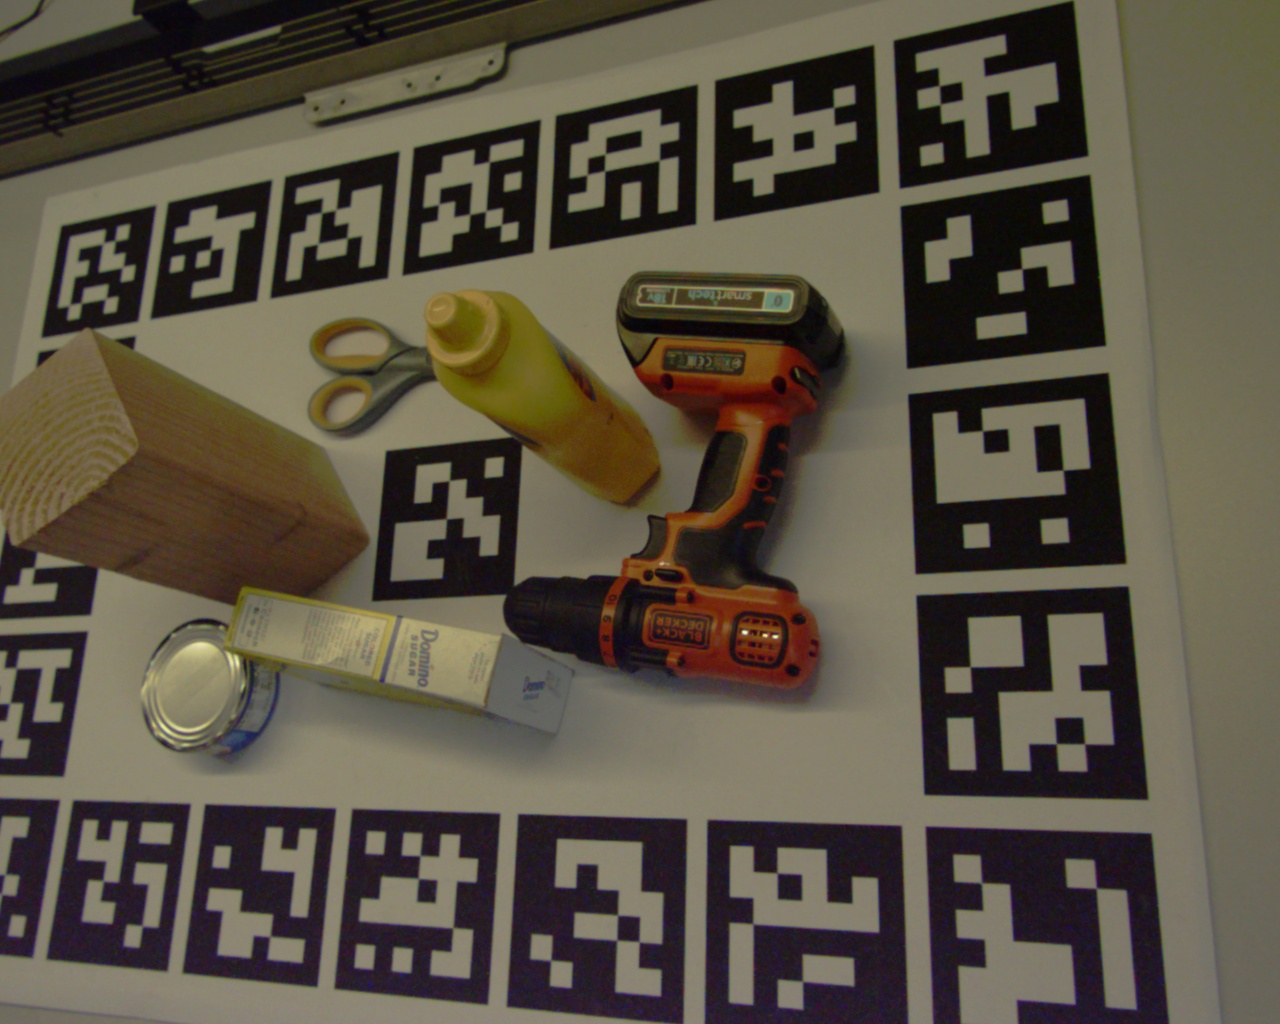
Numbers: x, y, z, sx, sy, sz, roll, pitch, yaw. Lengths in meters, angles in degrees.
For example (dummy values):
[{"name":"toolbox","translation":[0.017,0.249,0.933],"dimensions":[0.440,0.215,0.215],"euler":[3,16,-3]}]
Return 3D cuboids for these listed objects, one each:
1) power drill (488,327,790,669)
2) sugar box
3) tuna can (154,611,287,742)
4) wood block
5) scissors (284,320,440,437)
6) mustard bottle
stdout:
[{"name":"power drill","translation":[0.006,-0.010,0.666],"dimensions":[0.186,0.057,0.187],"euler":[9,87,25]},{"name":"sugar box","translation":[-0.134,0.083,0.682],"dimensions":[0.178,0.092,0.045],"euler":[7,76,22]},{"name":"tuna can","translation":[-0.280,0.111,0.763],"dimensions":[0.086,0.033,0.086],"euler":[-5,75,20]},{"name":"wood block","translation":[-0.267,-0.015,0.710],"dimensions":[0.091,0.204,0.090],"euler":[-34,68,11]},{"name":"scissors","translation":[-0.161,-0.099,0.781],"dimensions":[0.205,0.015,0.088],"euler":[-3,71,22]},{"name":"mustard bottle","translation":[-0.059,-0.069,0.644],"dimensions":[0.058,0.189,0.097],"euler":[-45,66,7]}]
